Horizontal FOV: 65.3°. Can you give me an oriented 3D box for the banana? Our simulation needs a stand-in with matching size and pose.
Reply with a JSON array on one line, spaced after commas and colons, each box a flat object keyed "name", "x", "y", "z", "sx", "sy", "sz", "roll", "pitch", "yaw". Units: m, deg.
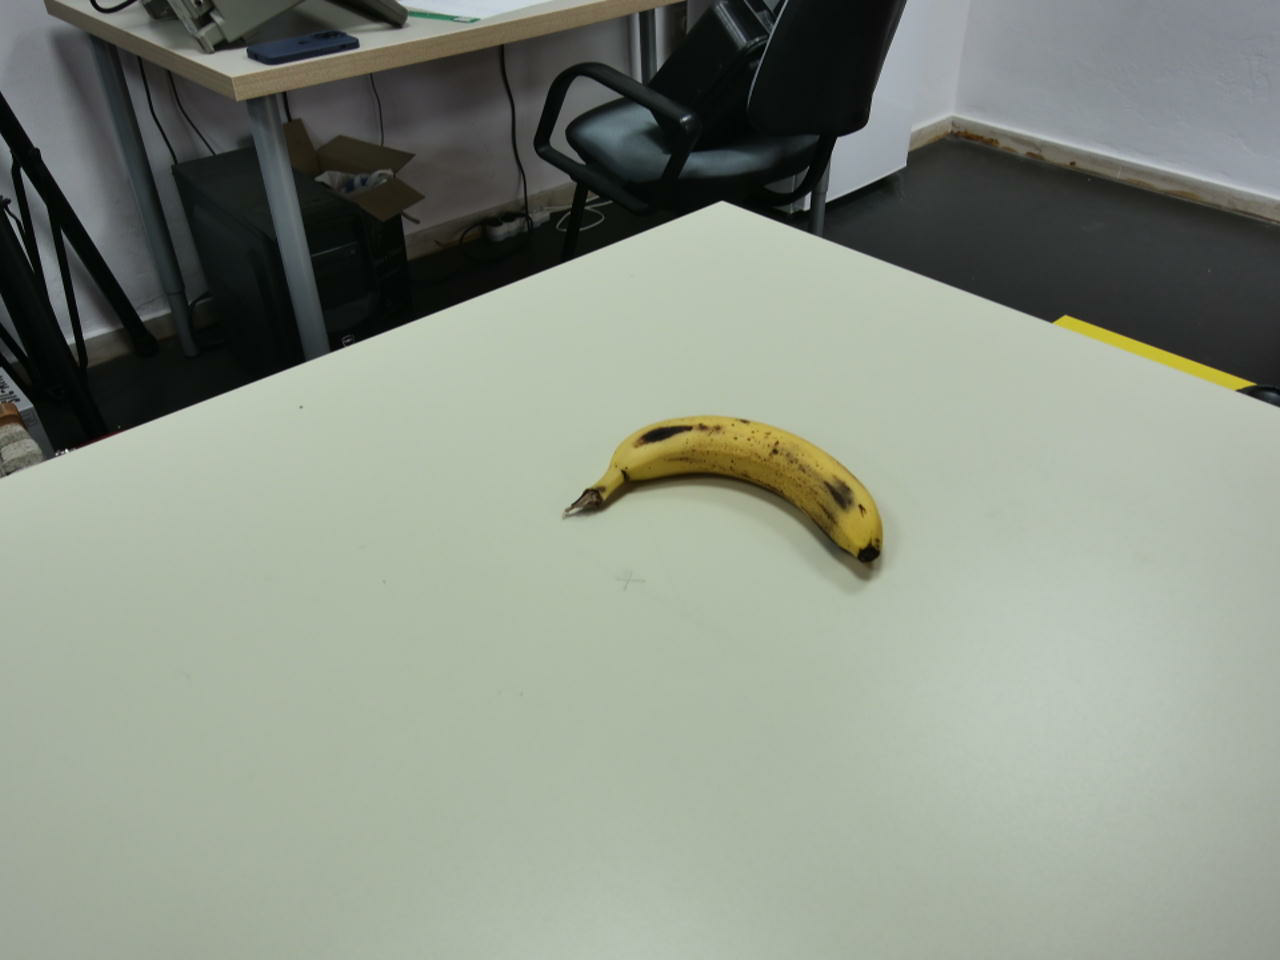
[{"name": "banana", "x": 0.061, "y": -0.001, "z": 0.619, "sx": 0.186, "sy": 0.038, "sz": 0.097, "roll": 12, "pitch": 38, "yaw": 17}]
